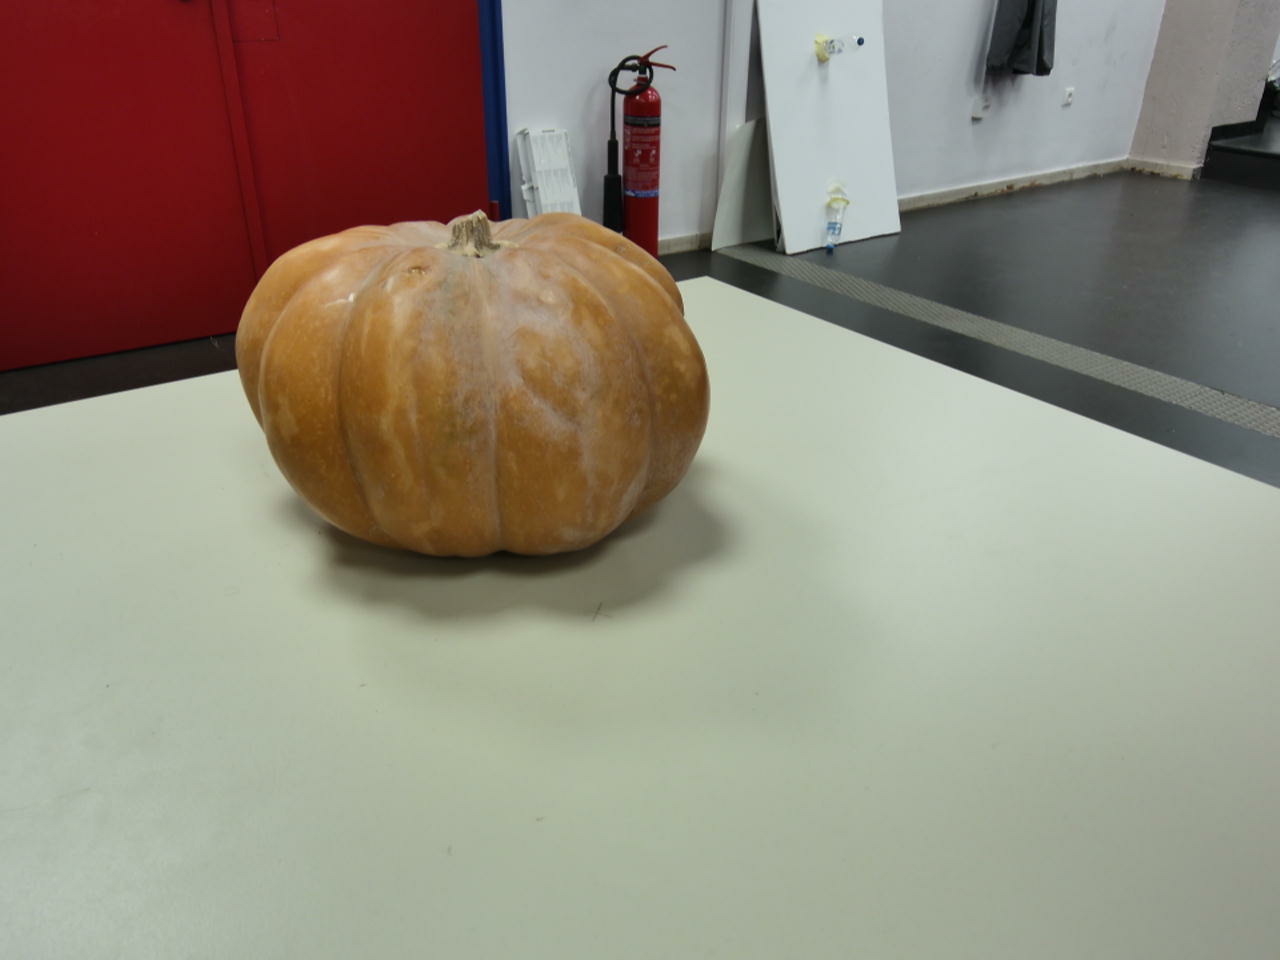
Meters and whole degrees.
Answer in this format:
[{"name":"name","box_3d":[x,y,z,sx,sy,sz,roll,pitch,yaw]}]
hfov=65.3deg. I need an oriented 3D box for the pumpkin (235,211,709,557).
[{"name":"pumpkin","box_3d":[-0.091,-0.062,0.582,0.277,0.181,0.277,0,26,0]}]
